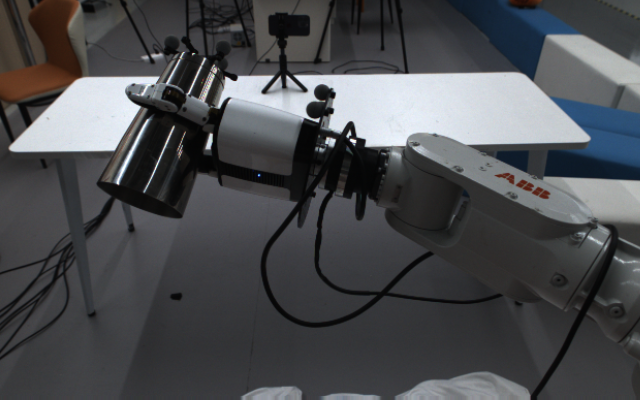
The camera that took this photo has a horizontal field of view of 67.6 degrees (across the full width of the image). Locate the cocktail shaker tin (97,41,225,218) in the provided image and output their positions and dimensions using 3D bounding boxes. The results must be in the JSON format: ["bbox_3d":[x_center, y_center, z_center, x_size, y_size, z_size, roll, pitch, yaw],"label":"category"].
[{"bbox_3d":[-0.166,-0.075,0.537,0.093,0.093,0.170,12,71,14],"label":"cocktail shaker tin"}]
